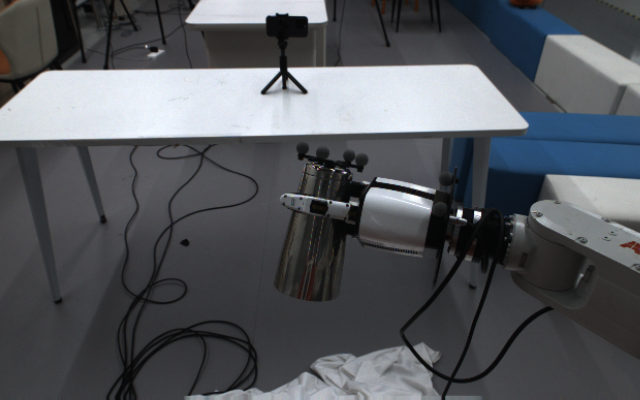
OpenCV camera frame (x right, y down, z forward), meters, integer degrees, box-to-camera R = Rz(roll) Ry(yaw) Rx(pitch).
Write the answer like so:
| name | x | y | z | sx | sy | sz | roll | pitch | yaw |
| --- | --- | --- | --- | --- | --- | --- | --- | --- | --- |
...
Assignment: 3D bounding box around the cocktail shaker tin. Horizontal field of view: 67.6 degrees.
| name | x | y | z | sx | sy | sz | roll | pitch | yaw |
| --- | --- | --- | --- | --- | --- | --- | --- | --- | --- |
| cocktail shaker tin | 0.000 | 0.037 | 0.655 | 0.093 | 0.170 | 0.093 | 10 | 9 | -2 |
